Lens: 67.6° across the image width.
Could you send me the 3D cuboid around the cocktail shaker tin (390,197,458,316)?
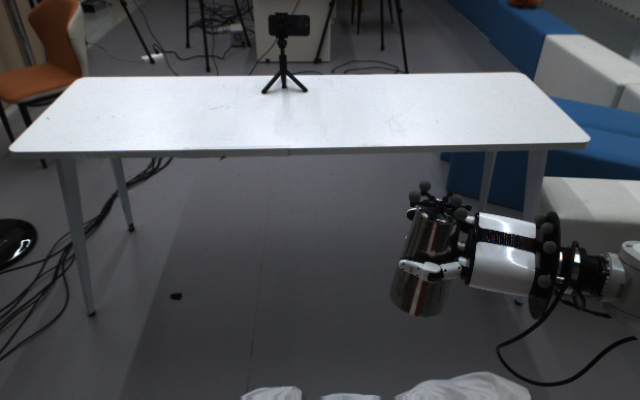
[{"bbox_3d":[0.167,0.084,0.746,0.093,0.170,0.093,4,32,-2],"label":"cocktail shaker tin"}]
